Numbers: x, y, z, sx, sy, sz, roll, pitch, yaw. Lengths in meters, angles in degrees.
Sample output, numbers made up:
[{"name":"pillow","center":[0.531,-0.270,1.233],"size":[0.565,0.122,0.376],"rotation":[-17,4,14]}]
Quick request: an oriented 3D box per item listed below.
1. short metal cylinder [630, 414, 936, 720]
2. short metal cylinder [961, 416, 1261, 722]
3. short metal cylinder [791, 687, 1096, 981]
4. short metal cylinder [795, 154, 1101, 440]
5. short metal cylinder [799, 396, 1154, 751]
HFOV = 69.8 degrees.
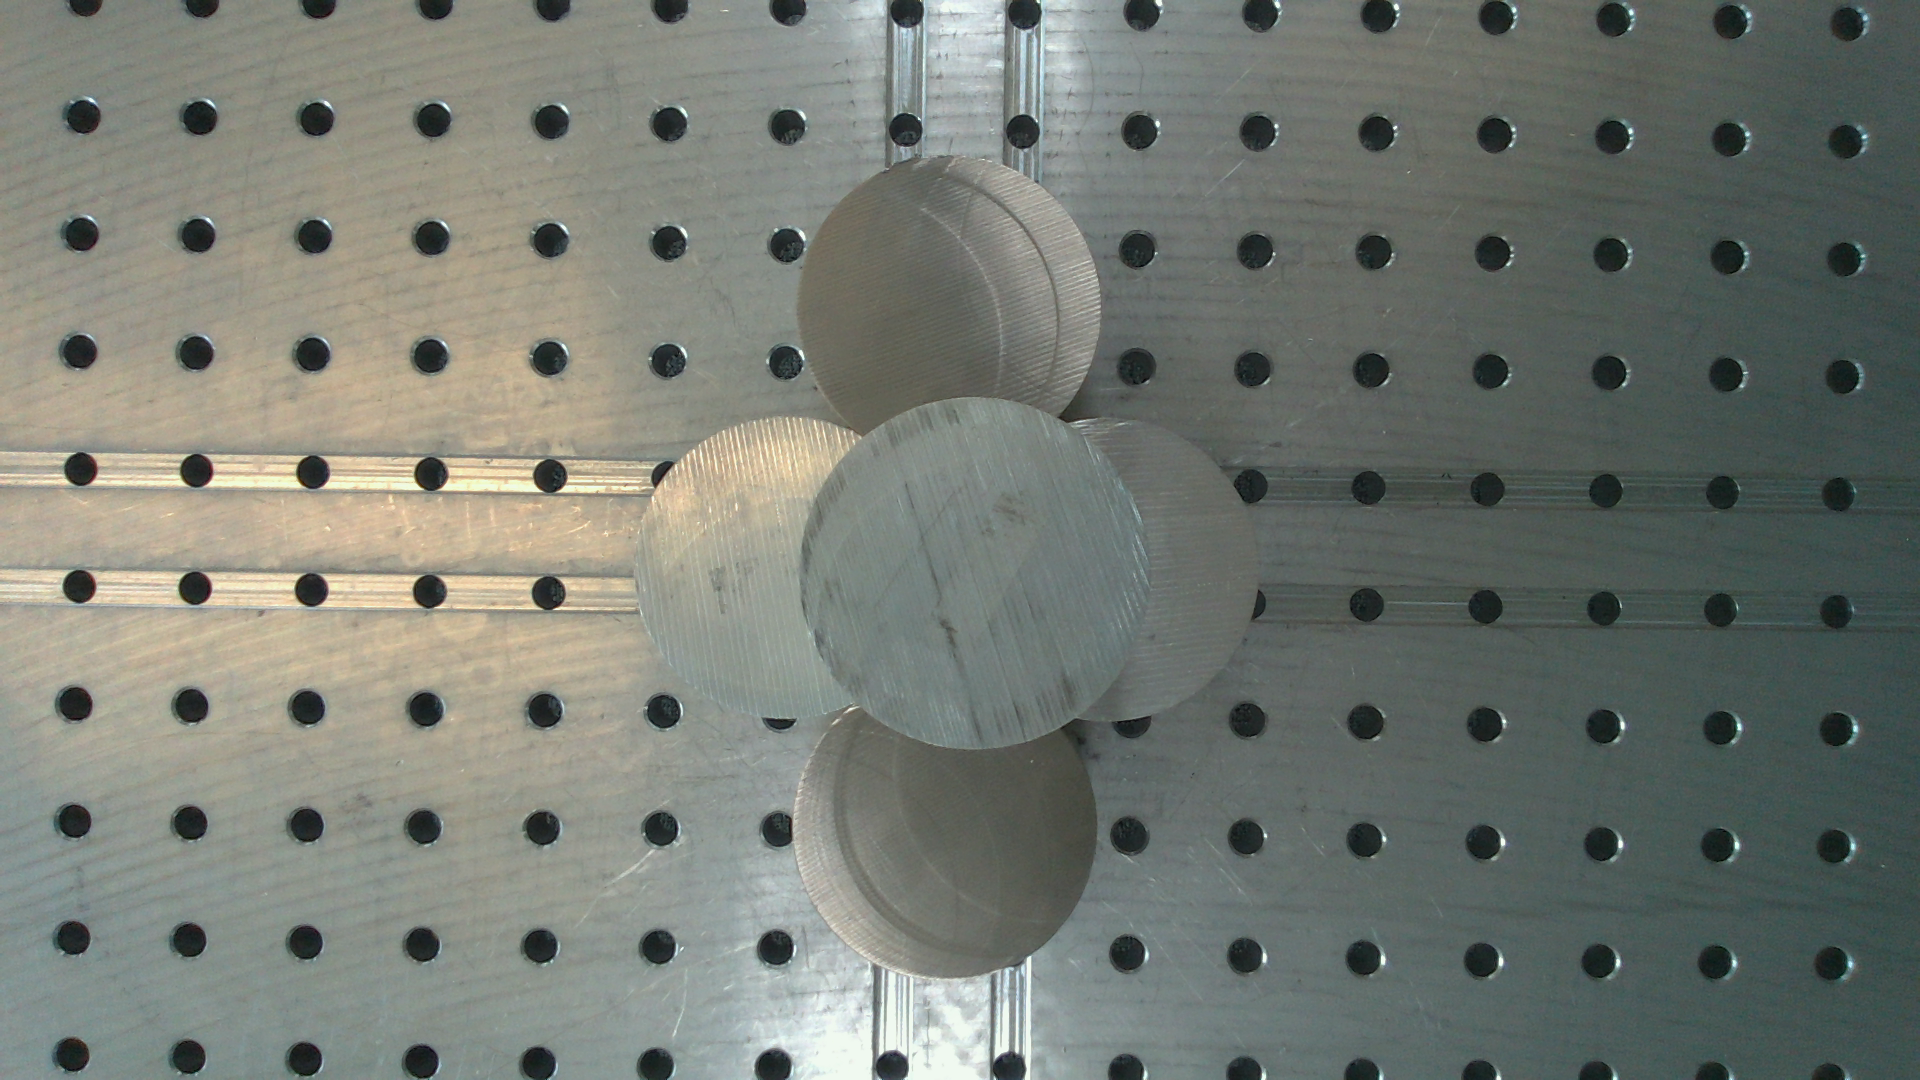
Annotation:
[{"name":"short metal cylinder","center":[-0.046,0.007,0.385],"size":[0.080,0.050,0.080],"rotation":[0,90,0]},{"name":"short metal cylinder","center":[0.039,0.008,0.385],"size":[0.080,0.050,0.080],"rotation":[0,90,0]},{"name":"short metal cylinder","center":[-0.004,0.076,0.385],"size":[0.080,0.050,0.080],"rotation":[0,88,0]},{"name":"short metal cylinder","center":[-0.003,-0.061,0.385],"size":[0.080,0.050,0.080],"rotation":[0,90,-1]},{"name":"short metal cylinder","center":[0.004,0.008,0.335],"size":[0.080,0.050,0.080],"rotation":[0,90,0]}]
